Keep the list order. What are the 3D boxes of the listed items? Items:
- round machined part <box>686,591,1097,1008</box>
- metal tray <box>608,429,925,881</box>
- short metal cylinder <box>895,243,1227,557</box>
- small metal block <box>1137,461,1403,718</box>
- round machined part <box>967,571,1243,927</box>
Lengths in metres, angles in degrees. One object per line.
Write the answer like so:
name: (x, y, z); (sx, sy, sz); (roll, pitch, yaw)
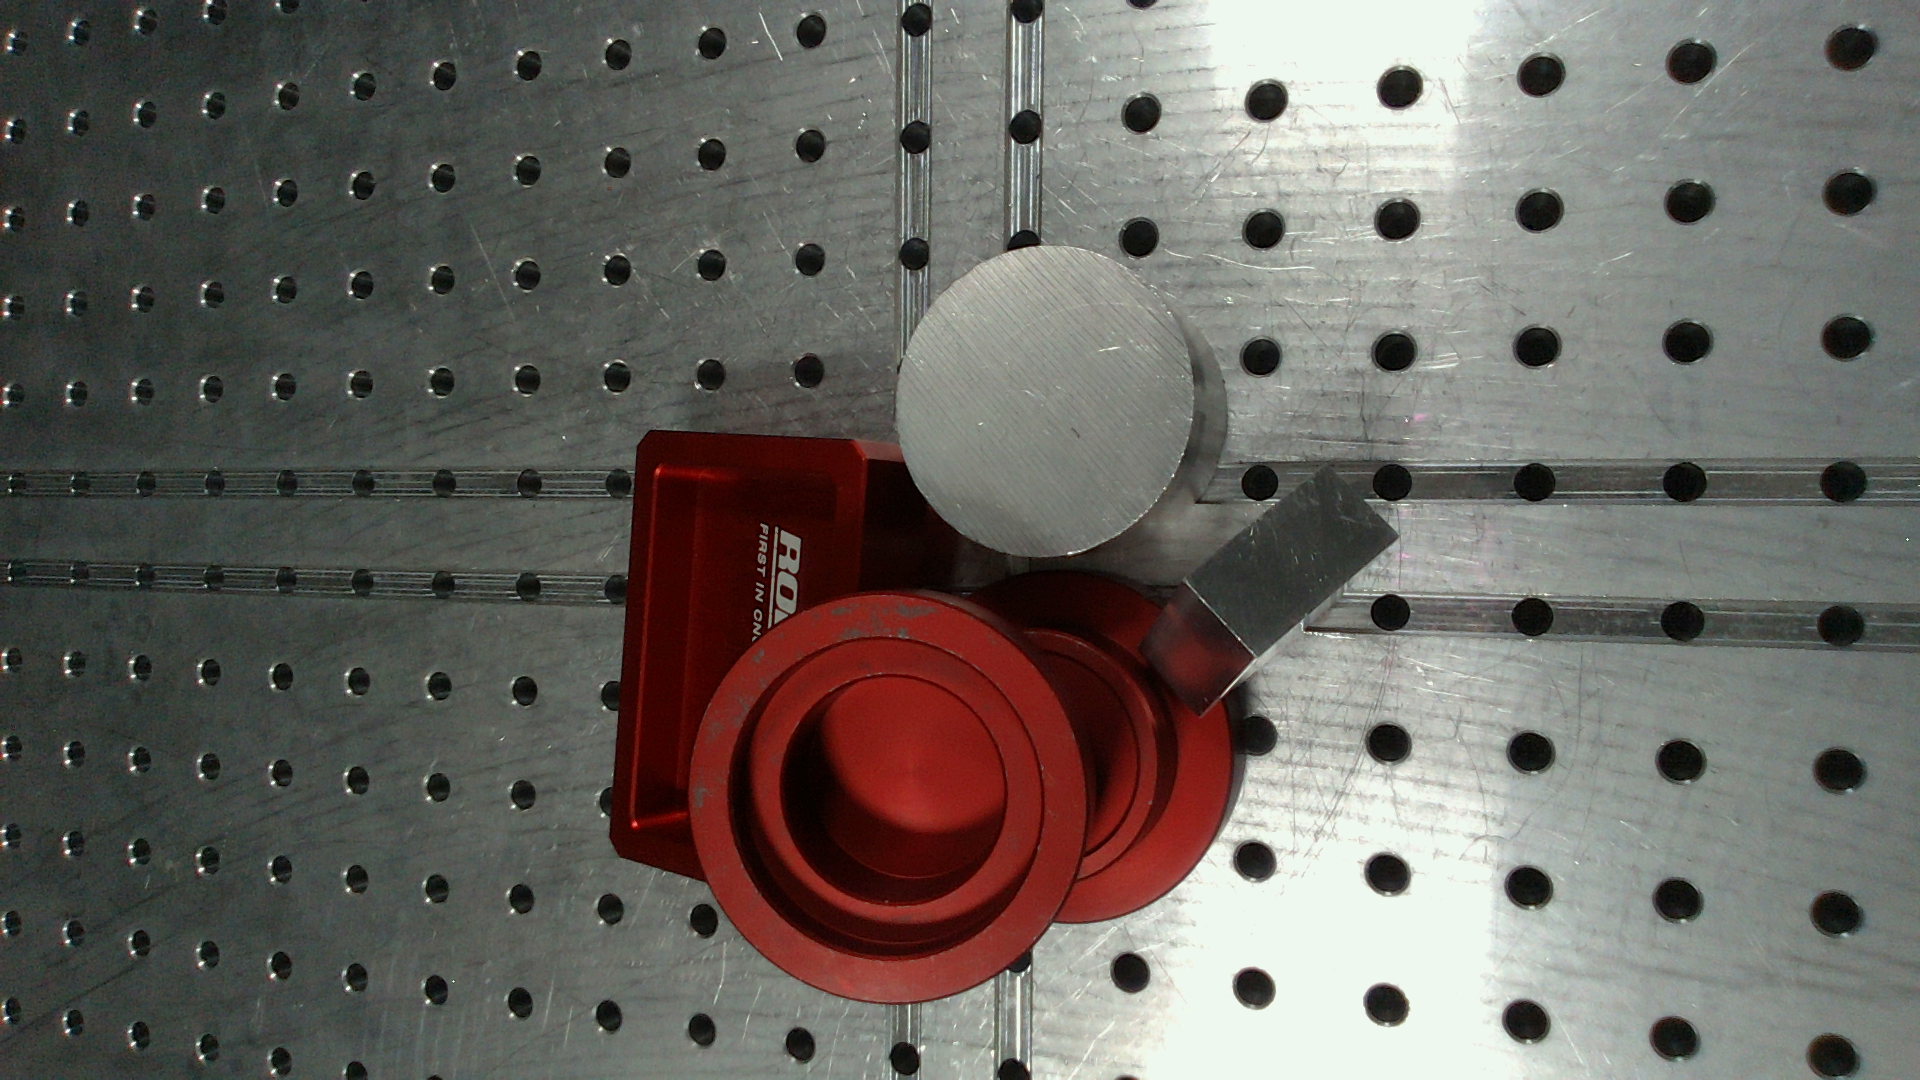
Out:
round machined part: (-0.015, 0.061, 0.344); (0.098, 0.042, 0.098); (0, 92, 10)
metal tray: (-0.058, 0.035, 0.405); (0.090, 0.030, 0.130); (5, 92, 35)
short metal cylinder: (0.029, -0.036, 0.374); (0.080, 0.050, 0.080); (0, 90, 20)
small metal block: (0.077, 0.014, 0.347); (0.050, 0.050, 0.025); (-37, 75, -20)
round machined part: (0.027, 0.058, 0.379); (0.098, 0.042, 0.098); (0, 90, 20)
